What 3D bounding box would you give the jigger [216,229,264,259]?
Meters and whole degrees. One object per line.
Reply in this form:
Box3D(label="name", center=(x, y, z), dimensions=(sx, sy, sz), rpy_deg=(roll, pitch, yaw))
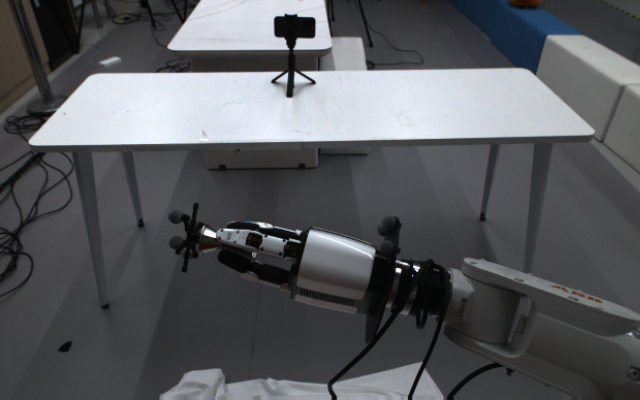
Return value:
Box3D(label="jigger", center=(-0.107, 0.050, 0.616), dimensions=(0.071, 0.043, 0.043), rpy_deg=(6, 35, 2))
